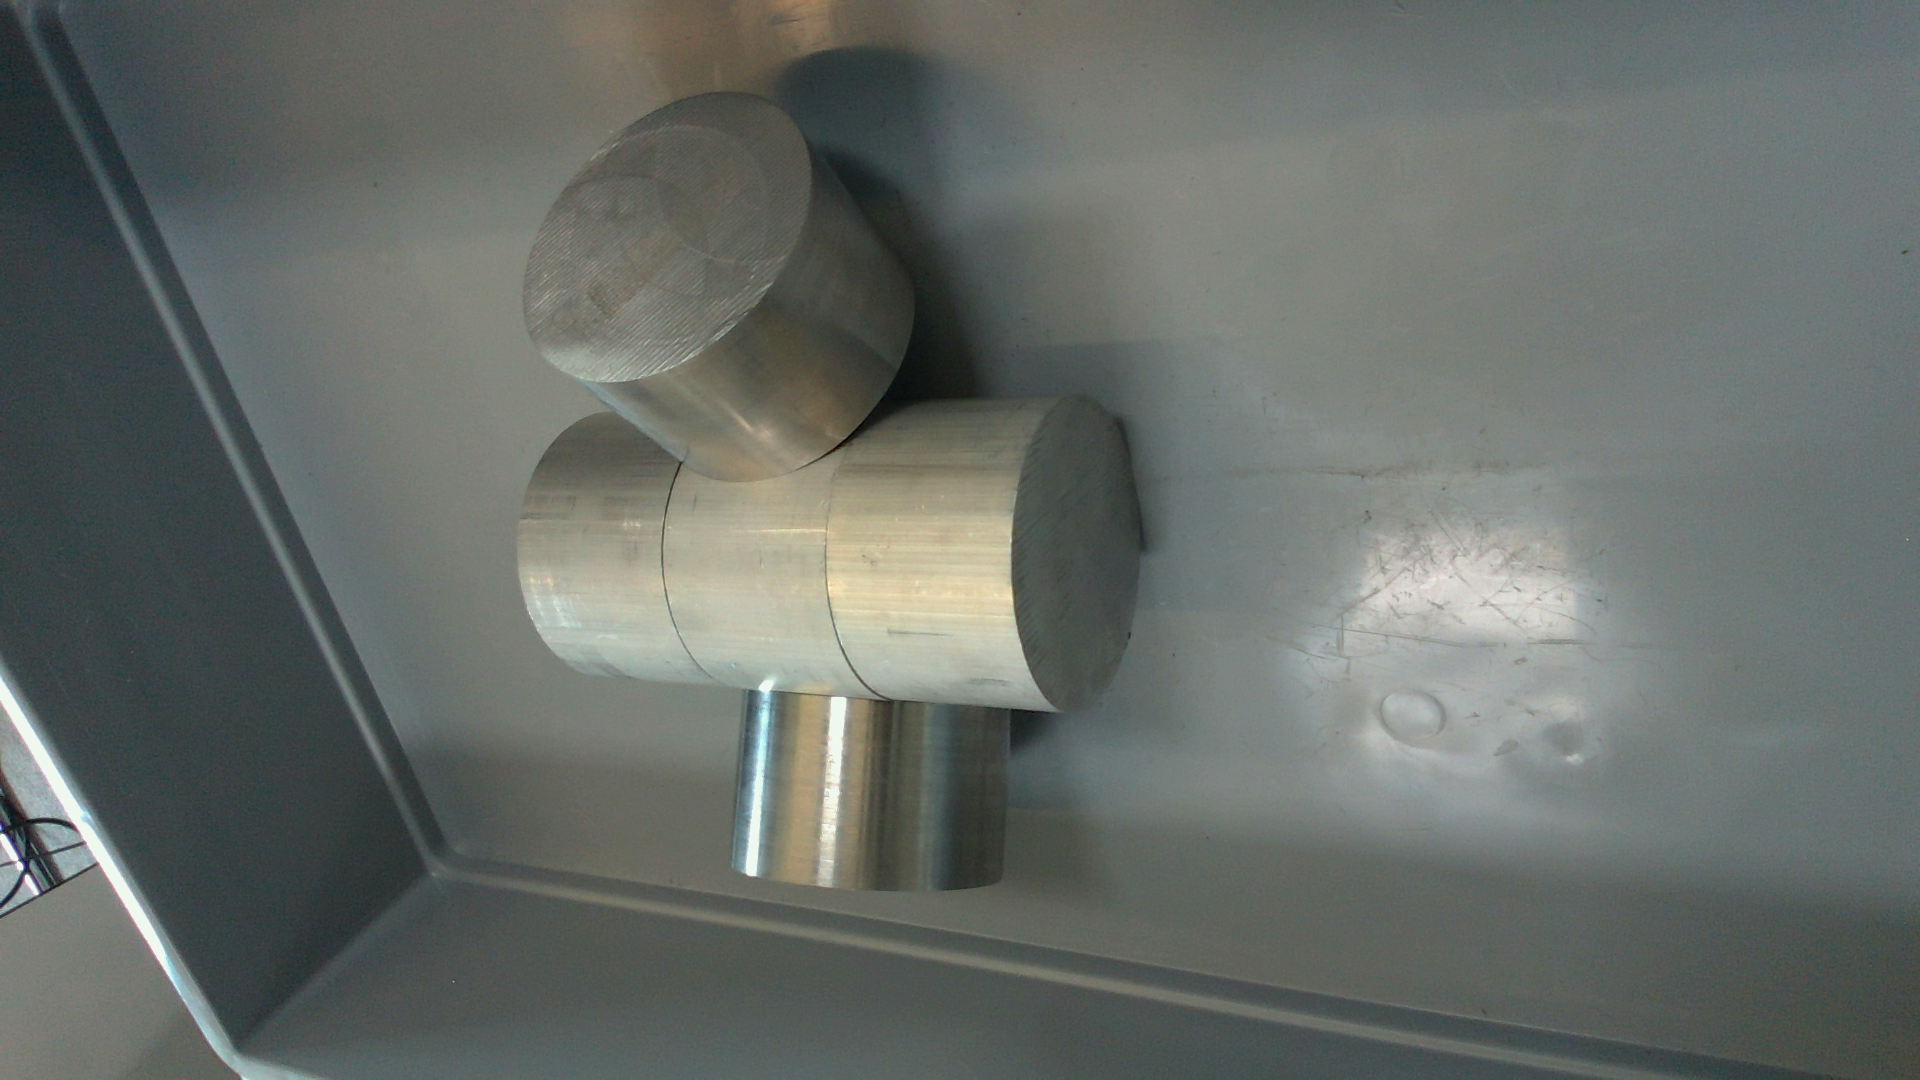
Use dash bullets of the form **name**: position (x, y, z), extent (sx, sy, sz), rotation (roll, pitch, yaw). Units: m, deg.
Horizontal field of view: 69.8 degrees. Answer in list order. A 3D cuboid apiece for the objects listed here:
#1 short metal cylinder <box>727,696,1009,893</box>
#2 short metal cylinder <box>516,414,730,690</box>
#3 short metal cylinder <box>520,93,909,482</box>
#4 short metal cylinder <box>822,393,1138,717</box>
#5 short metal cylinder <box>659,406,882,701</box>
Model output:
- **short metal cylinder**: position (-0.027, 0.071, 0.405), extent (0.080, 0.080, 0.050), rotation (0, 84, 28)
- **short metal cylinder**: position (-0.081, 0.002, 0.401), extent (0.050, 0.080, 0.080), rotation (1, 119, 28)
- **short metal cylinder**: position (-0.060, -0.061, 0.340), extent (0.080, 0.080, 0.050), rotation (2, 157, 27)
- **short metal cylinder**: position (0.008, 0.003, 0.354), extent (0.050, 0.080, 0.080), rotation (1, 119, 28)
- **short metal cylinder**: position (-0.036, 0.003, 0.377), extent (0.050, 0.080, 0.080), rotation (1, 119, 28)
